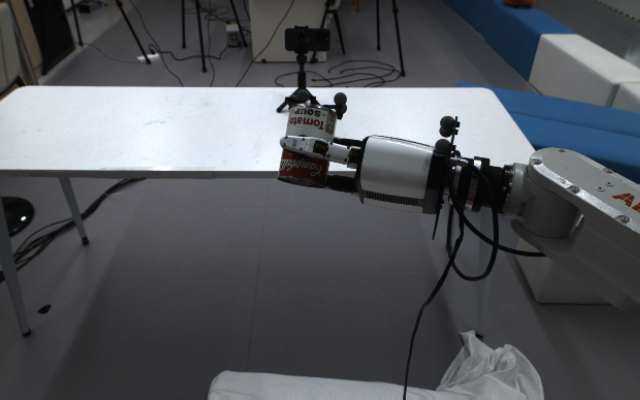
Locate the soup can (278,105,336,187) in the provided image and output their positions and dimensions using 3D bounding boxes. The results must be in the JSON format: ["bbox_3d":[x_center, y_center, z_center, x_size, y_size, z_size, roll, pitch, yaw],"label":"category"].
[{"bbox_3d":[-0.016,-0.073,0.660,0.067,0.101,0.067,9,-5,1],"label":"soup can"}]
